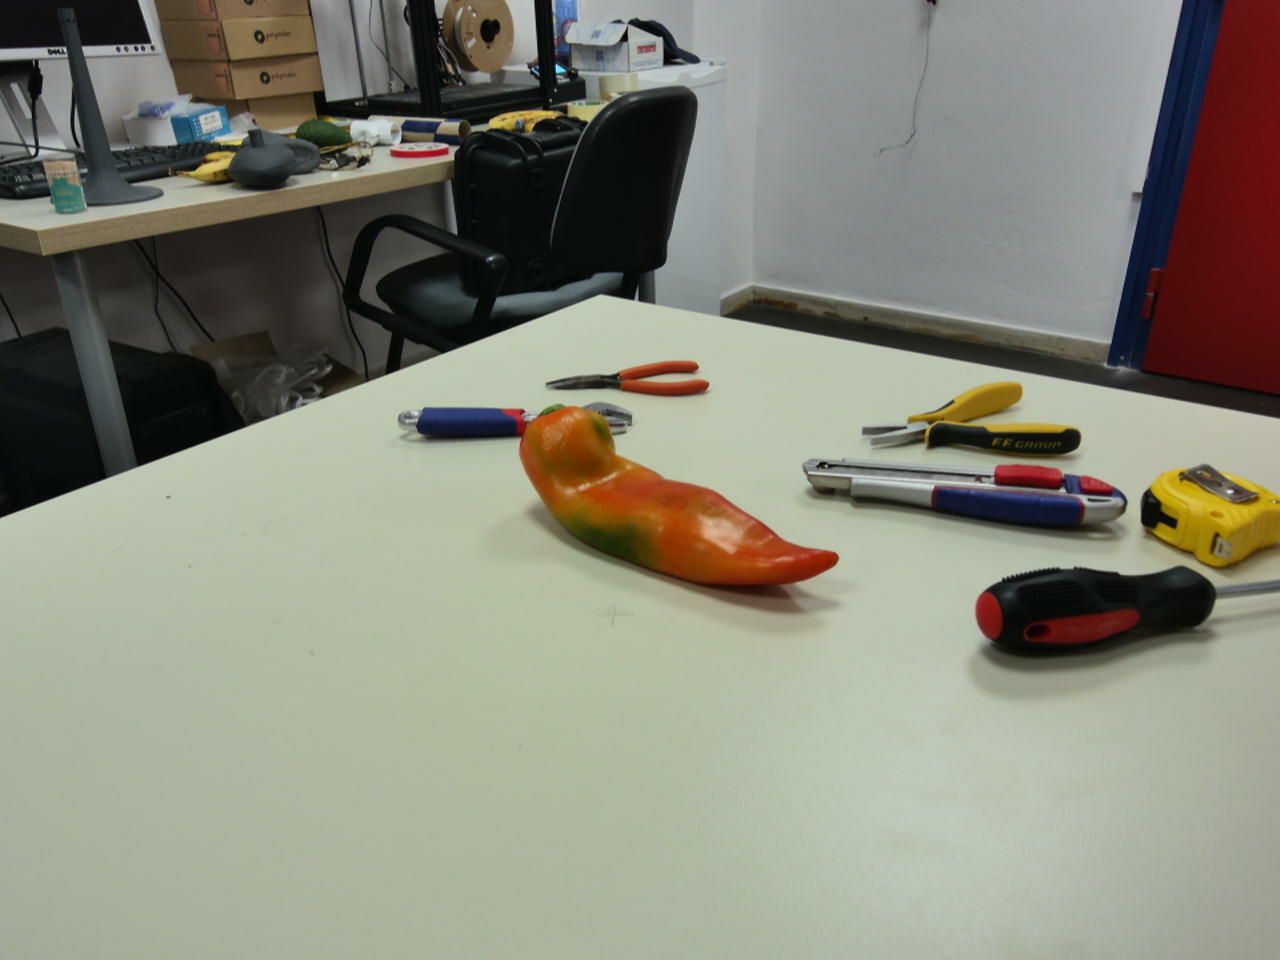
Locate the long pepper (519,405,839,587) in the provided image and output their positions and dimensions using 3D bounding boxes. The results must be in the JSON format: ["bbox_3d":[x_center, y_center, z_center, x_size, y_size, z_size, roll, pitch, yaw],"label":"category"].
[{"bbox_3d":[0.013,0.008,0.528,0.199,0.065,0.066,20,31,38],"label":"long pepper"}]
